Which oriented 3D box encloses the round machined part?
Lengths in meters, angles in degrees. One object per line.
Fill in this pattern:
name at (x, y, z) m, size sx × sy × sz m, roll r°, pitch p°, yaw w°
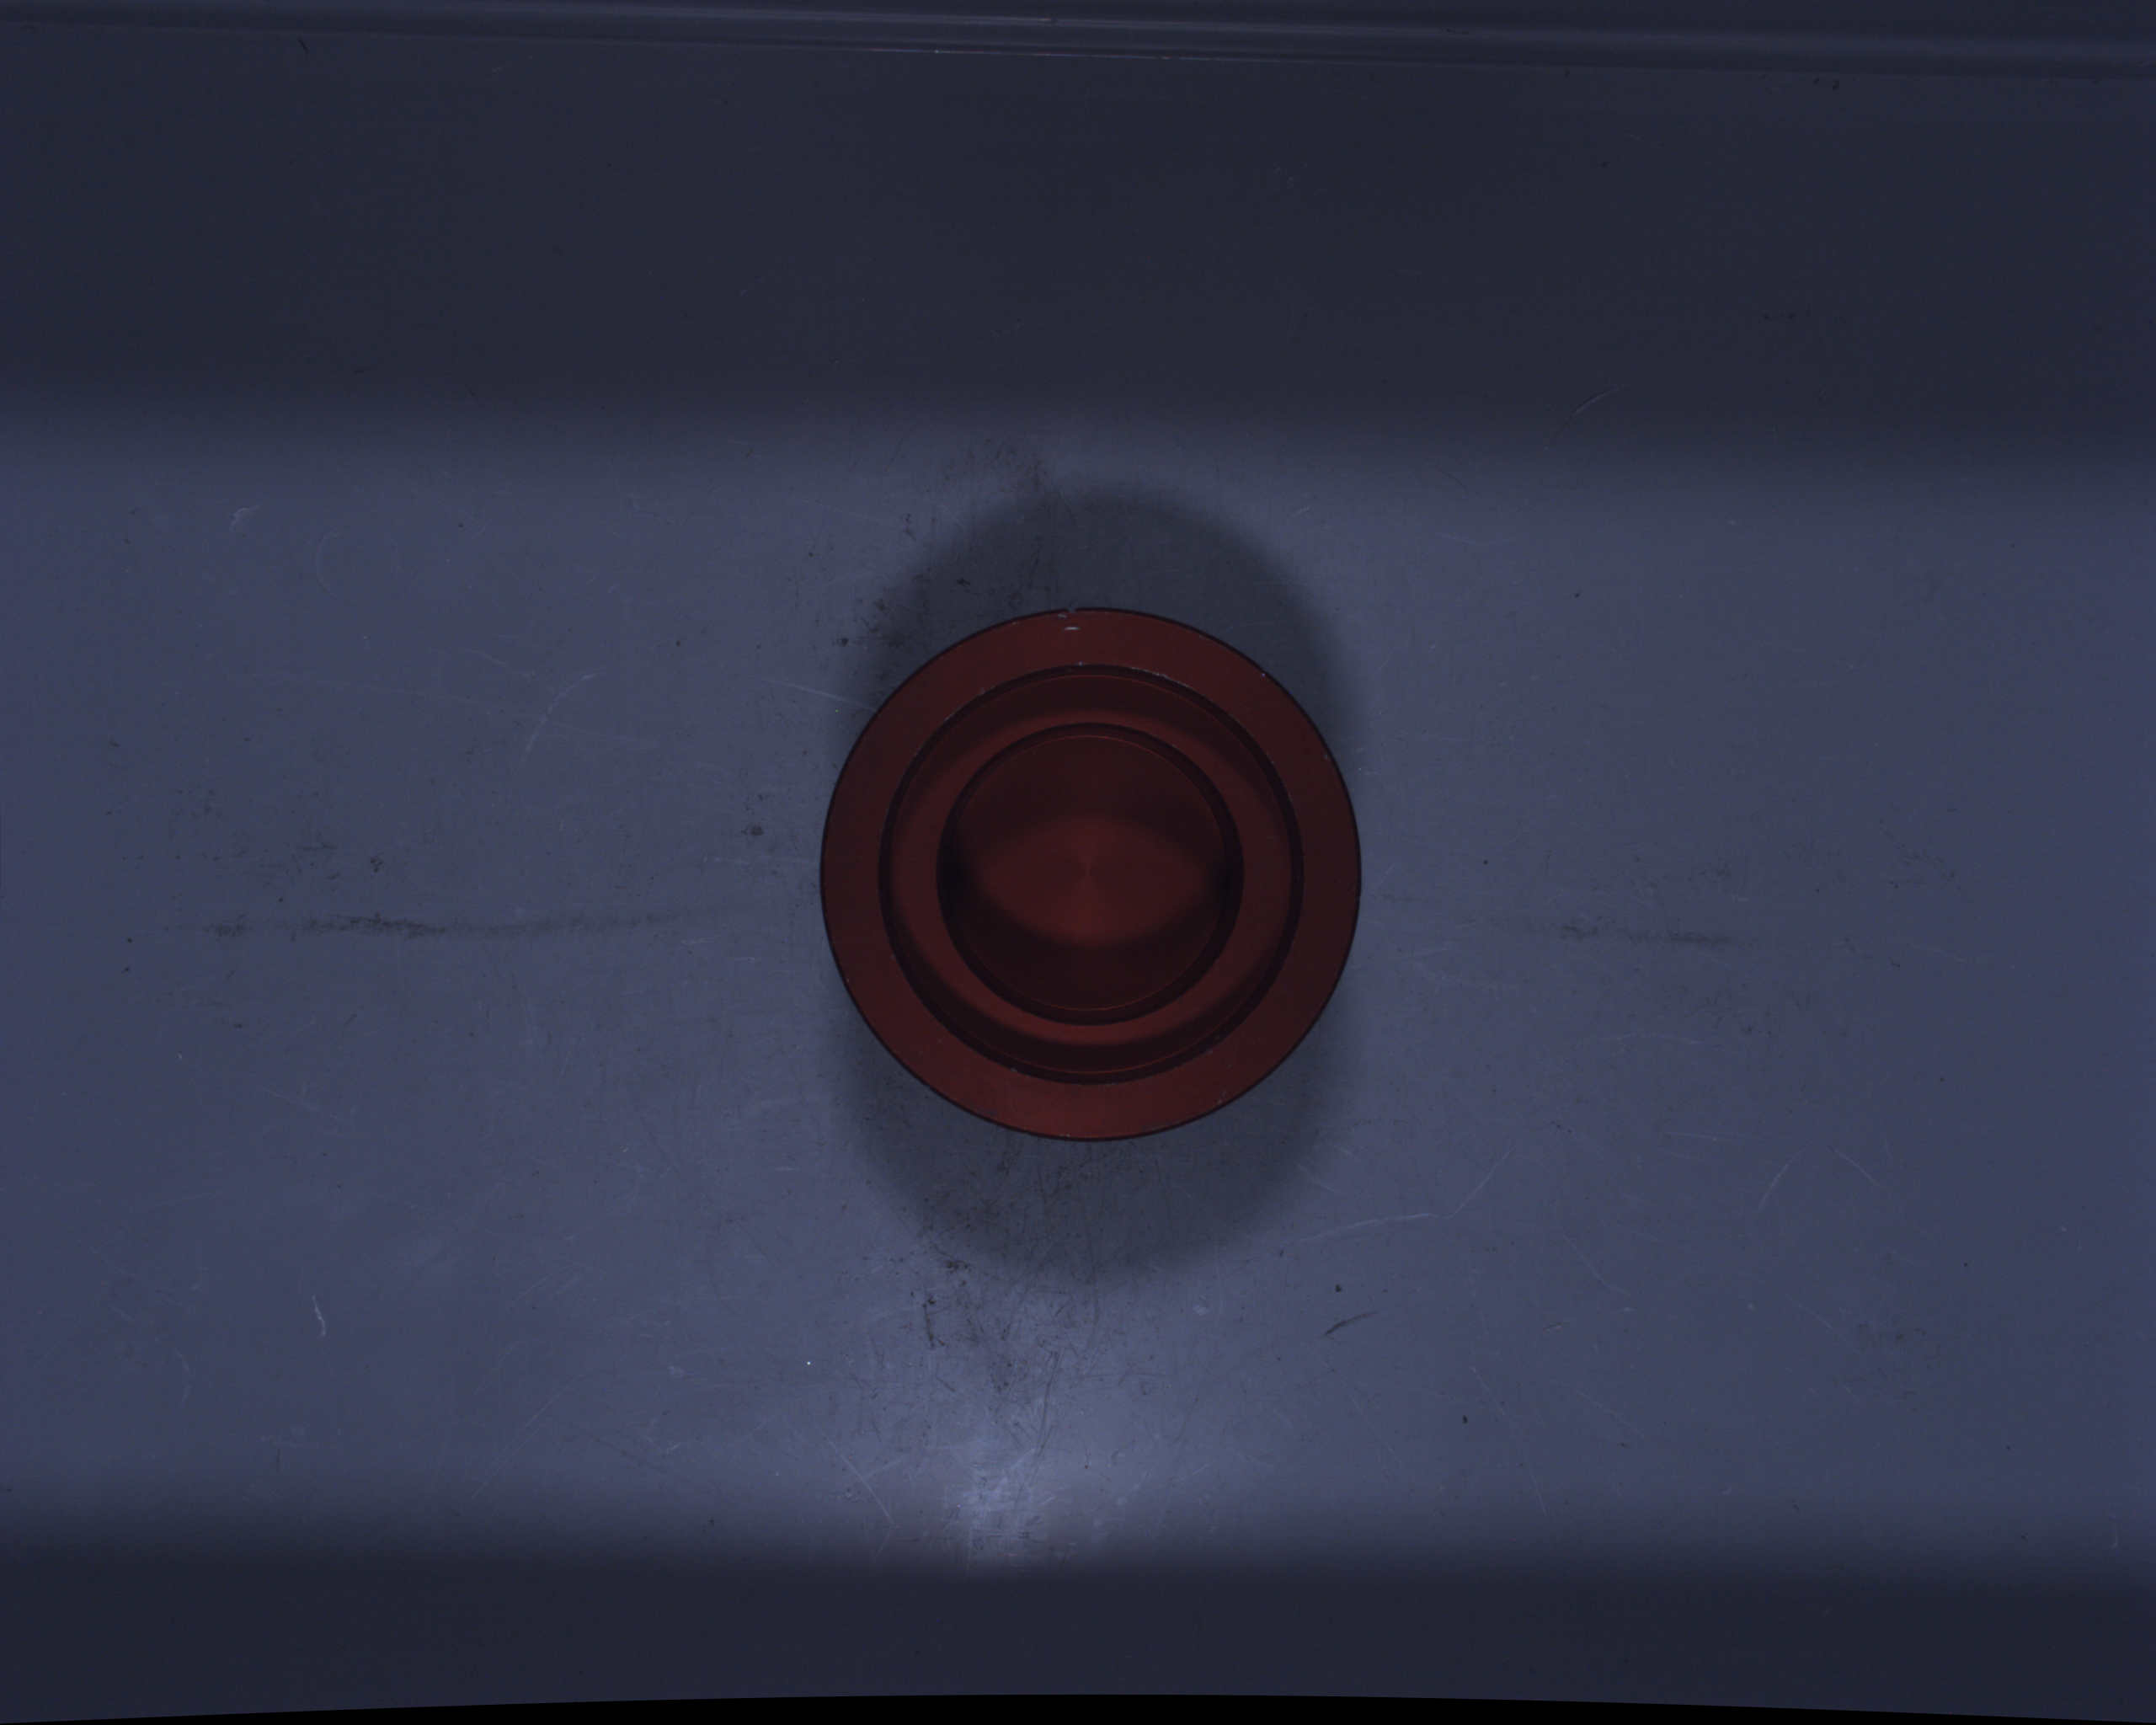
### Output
round machined part at (0.002, 0.002, 0.399) m, size 0.099 × 0.042 × 0.097 m, roll 0°, pitch 90°, yaw -1°
